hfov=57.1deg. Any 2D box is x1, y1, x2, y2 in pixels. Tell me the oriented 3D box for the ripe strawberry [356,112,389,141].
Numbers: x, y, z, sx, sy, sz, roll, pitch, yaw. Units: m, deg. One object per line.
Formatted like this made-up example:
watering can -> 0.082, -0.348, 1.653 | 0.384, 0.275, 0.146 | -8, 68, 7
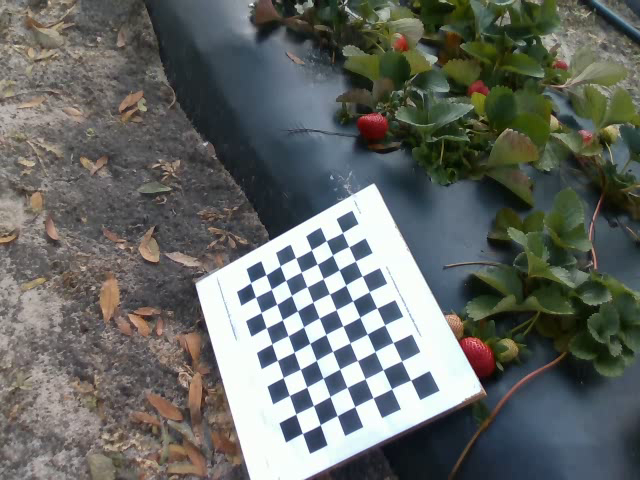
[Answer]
ripe strawberry -> 0.079, -0.184, 0.914 | 0.049, 0.050, 0.053 | -46, -33, 22
